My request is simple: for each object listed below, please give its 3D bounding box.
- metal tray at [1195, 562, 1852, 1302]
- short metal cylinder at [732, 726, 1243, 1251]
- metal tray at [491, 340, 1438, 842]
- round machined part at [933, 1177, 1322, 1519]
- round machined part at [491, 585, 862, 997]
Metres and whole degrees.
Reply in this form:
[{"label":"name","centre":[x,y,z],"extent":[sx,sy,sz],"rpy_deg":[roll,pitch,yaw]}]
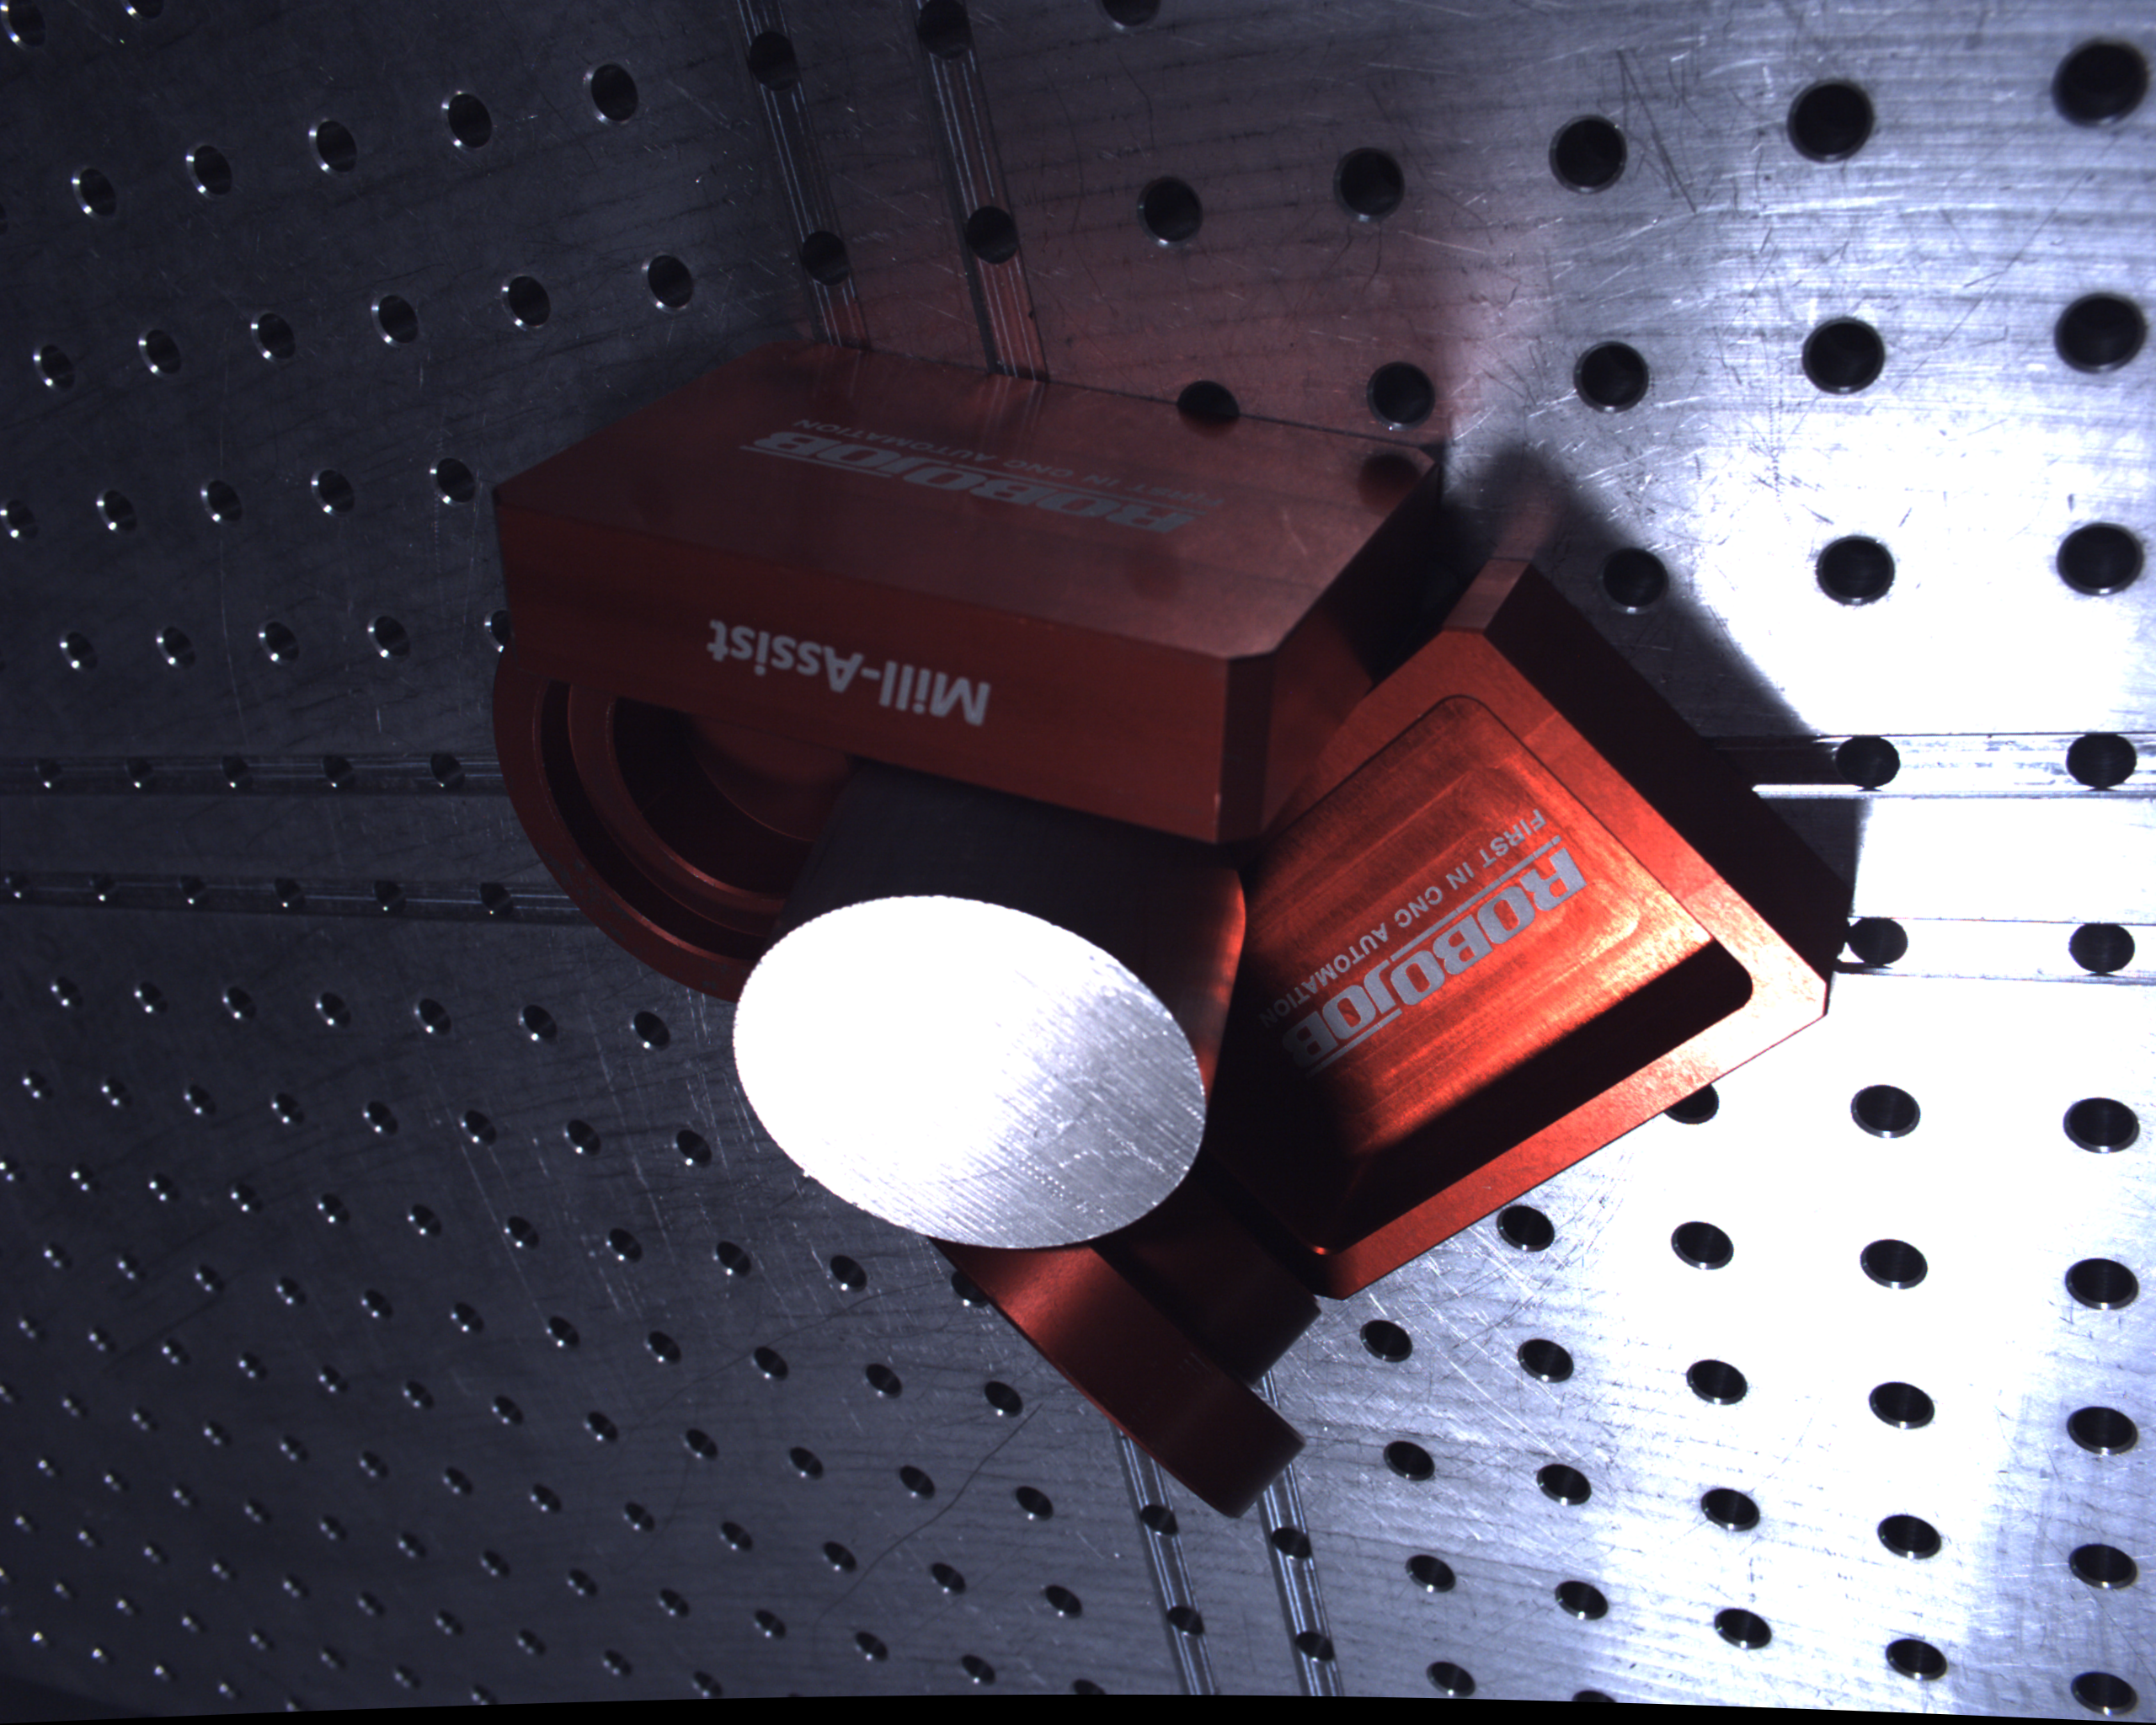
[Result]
[{"label":"metal tray","centre":[0.061,0.018,0.385],"extent":[0.090,0.030,0.129],"rpy_deg":[45,129,-4]},{"label":"short metal cylinder","centre":[-0.014,0.022,0.367],"extent":[0.080,0.050,0.079],"rpy_deg":[6,128,8]},{"label":"metal tray","centre":[-0.016,-0.050,0.345],"extent":[0.130,0.090,0.030],"rpy_deg":[14,124,19]},{"label":"round machined part","centre":[0.010,0.082,0.422],"extent":[0.098,0.042,0.098],"rpy_deg":[43,173,7]},{"label":"round machined part","centre":[-0.064,-0.023,0.418],"extent":[0.098,0.042,0.097],"rpy_deg":[13,124,20]}]
